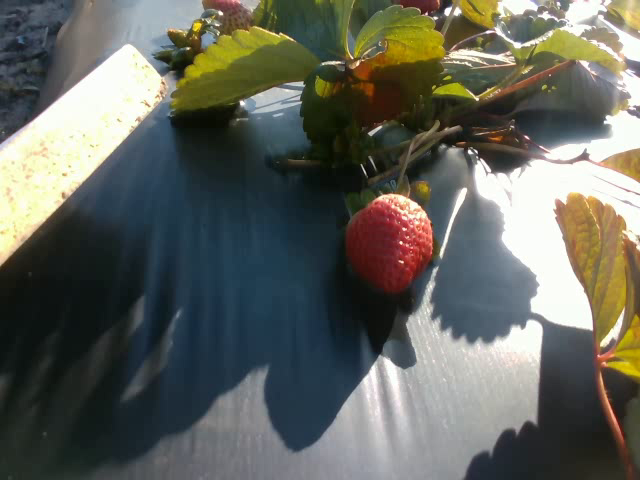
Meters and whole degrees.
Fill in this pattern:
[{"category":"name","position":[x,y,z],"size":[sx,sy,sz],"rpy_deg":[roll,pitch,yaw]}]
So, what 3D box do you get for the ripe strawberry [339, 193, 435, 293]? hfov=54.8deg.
[{"category":"ripe strawberry","position":[0.029,0.003,0.239],"size":[0.044,0.044,0.064],"rpy_deg":[-34,26,18]}]
